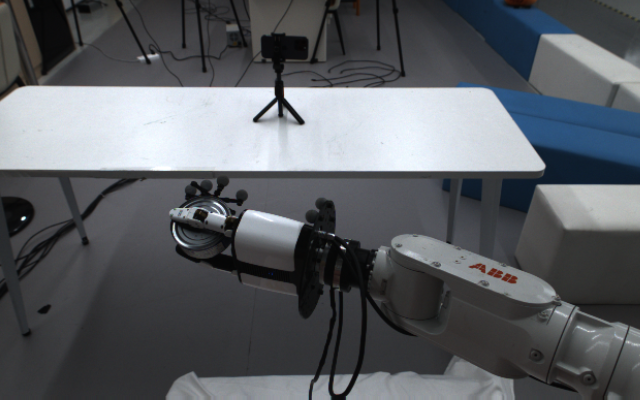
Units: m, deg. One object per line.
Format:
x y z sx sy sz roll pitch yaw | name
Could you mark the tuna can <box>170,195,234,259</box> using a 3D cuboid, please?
-0.163 0.038 0.680 0.085 0.034 0.085 -3 57 4 | tuna can
